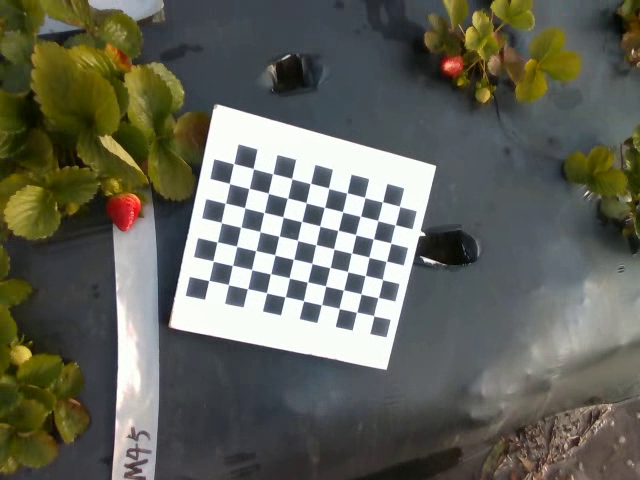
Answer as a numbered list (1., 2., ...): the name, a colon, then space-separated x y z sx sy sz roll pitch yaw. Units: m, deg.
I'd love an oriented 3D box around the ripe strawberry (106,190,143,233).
1. ripe strawberry: -0.211 -0.028 0.718 0.050 0.055 0.035 7 -15 -20
